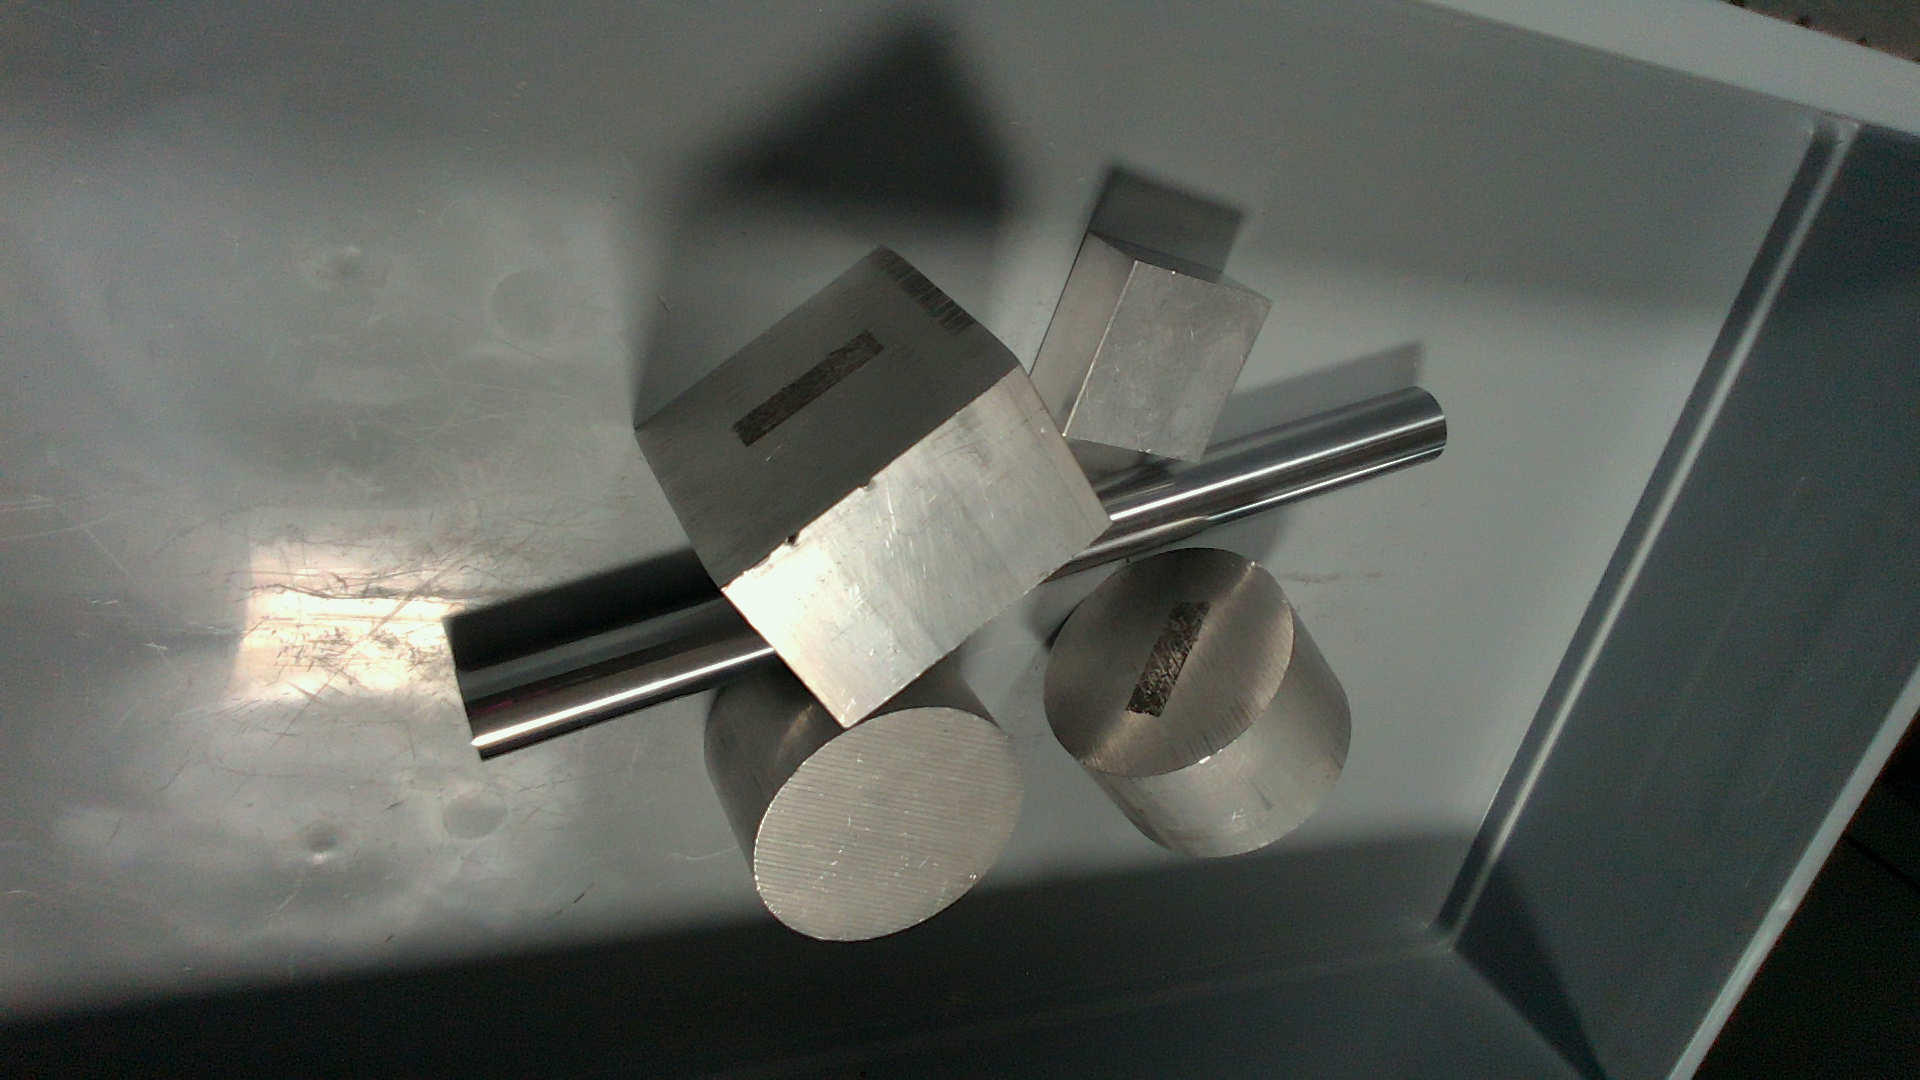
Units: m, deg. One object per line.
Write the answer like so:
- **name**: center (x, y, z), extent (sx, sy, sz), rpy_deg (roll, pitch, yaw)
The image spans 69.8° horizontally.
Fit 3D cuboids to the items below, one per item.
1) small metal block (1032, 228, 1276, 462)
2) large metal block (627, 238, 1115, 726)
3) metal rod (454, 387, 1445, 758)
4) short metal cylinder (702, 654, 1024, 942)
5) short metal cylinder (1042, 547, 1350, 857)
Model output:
- **small metal block**: center (0.052, -0.053, 0.383), extent (0.050, 0.025, 0.050), rpy_deg (9, 114, -32)
- **large metal block**: center (-0.024, -0.017, 0.330), extent (0.080, 0.080, 0.050), rpy_deg (-37, 129, -3)
- **metal rod**: center (0.012, 0.003, 0.396), extent (0.301, 0.025, 0.025), rpy_deg (-17, 125, -19)
- **short metal cylinder**: center (-0.028, 0.068, 0.397), extent (0.080, 0.050, 0.080), rpy_deg (-14, 124, -21)
- **short metal cylinder**: center (0.072, 0.049, 0.422), extent (0.080, 0.080, 0.050), rpy_deg (-41, 129, -1)
